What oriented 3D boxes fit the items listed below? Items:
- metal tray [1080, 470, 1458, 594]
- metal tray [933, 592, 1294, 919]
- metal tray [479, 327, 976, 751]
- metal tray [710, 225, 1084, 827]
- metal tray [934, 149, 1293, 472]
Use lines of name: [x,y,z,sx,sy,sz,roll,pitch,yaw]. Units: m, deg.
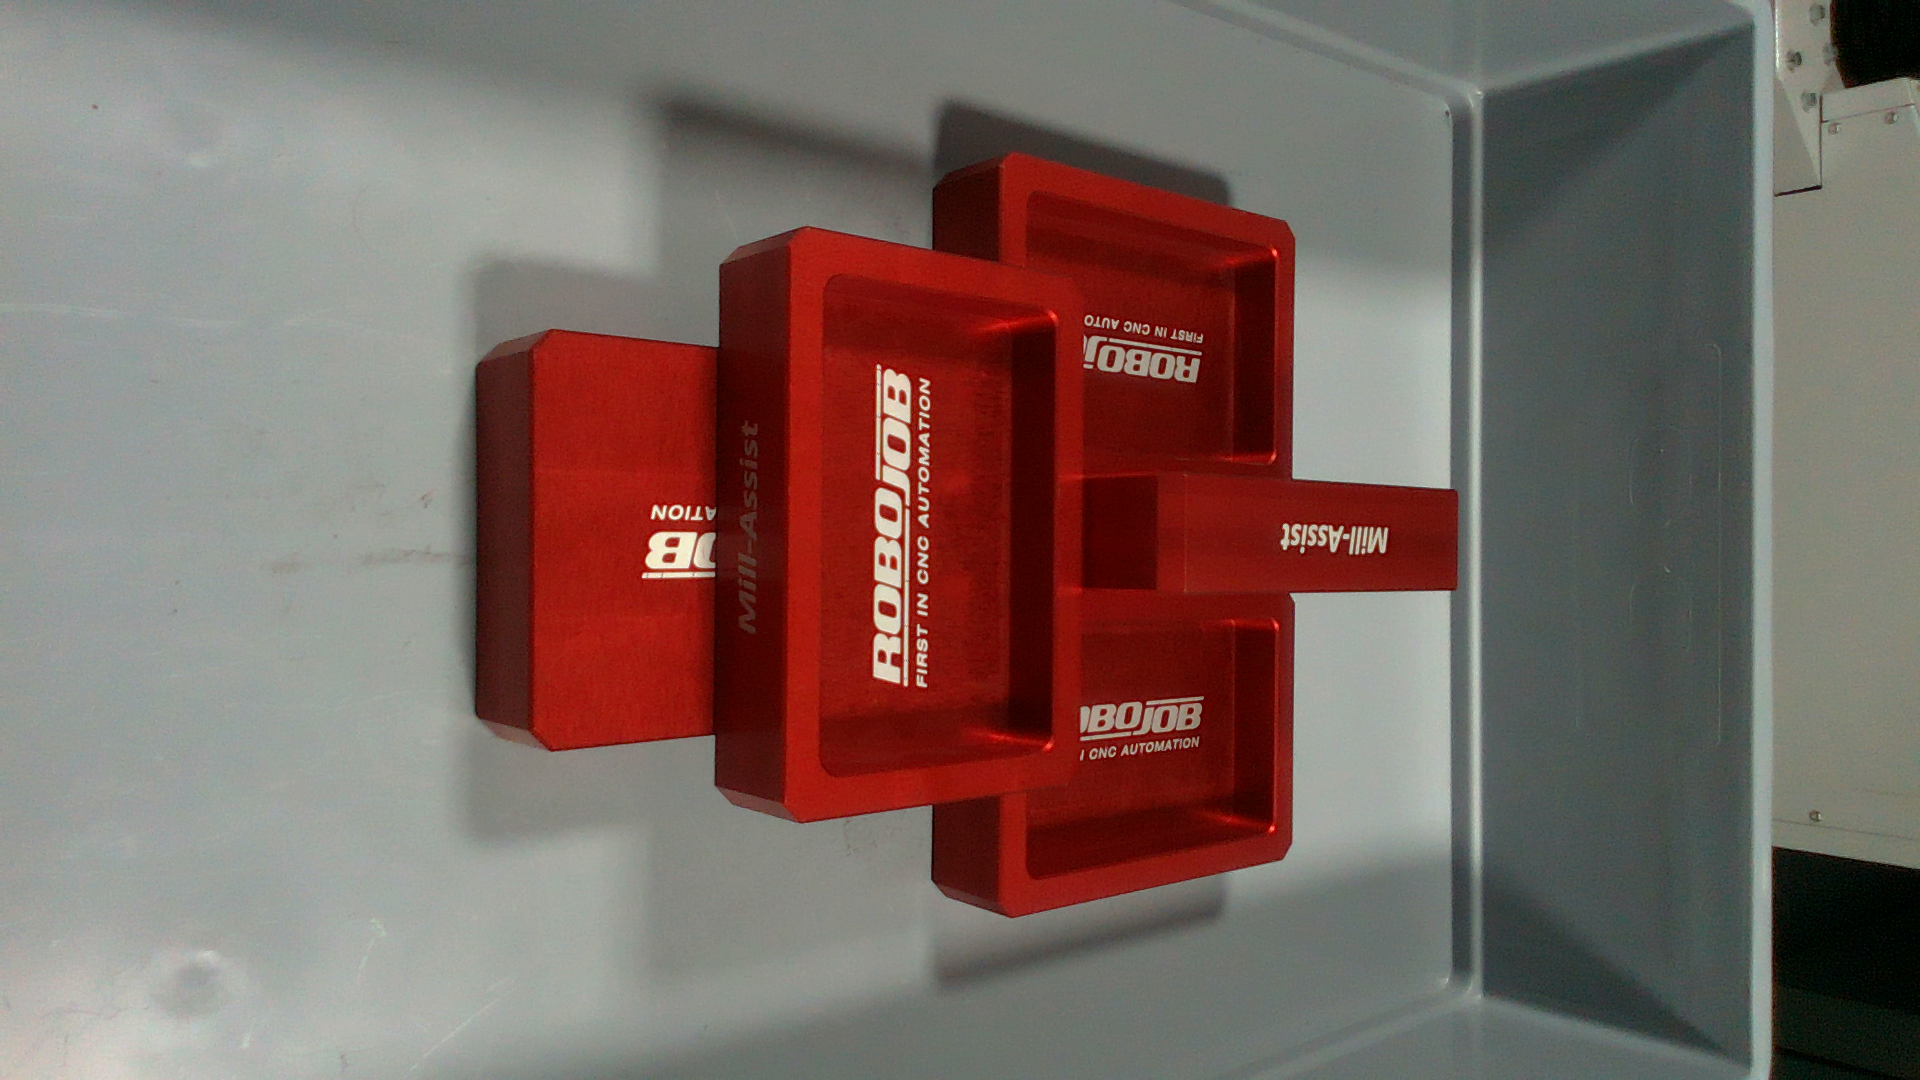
metal tray: [0.073,-0.001,0.405,0.131,0.090,0.030,1,89,-40]
metal tray: [0.052,0.060,0.427,0.131,0.030,0.090,1,89,-40]
metal tray: [-0.049,0.000,0.341,0.131,0.030,0.090,0,90,-40]
metal tray: [-0.013,-0.003,0.333,0.090,0.030,0.130,1,89,-40]
metal tray: [0.051,-0.062,0.427,0.131,0.030,0.090,1,89,-40]
